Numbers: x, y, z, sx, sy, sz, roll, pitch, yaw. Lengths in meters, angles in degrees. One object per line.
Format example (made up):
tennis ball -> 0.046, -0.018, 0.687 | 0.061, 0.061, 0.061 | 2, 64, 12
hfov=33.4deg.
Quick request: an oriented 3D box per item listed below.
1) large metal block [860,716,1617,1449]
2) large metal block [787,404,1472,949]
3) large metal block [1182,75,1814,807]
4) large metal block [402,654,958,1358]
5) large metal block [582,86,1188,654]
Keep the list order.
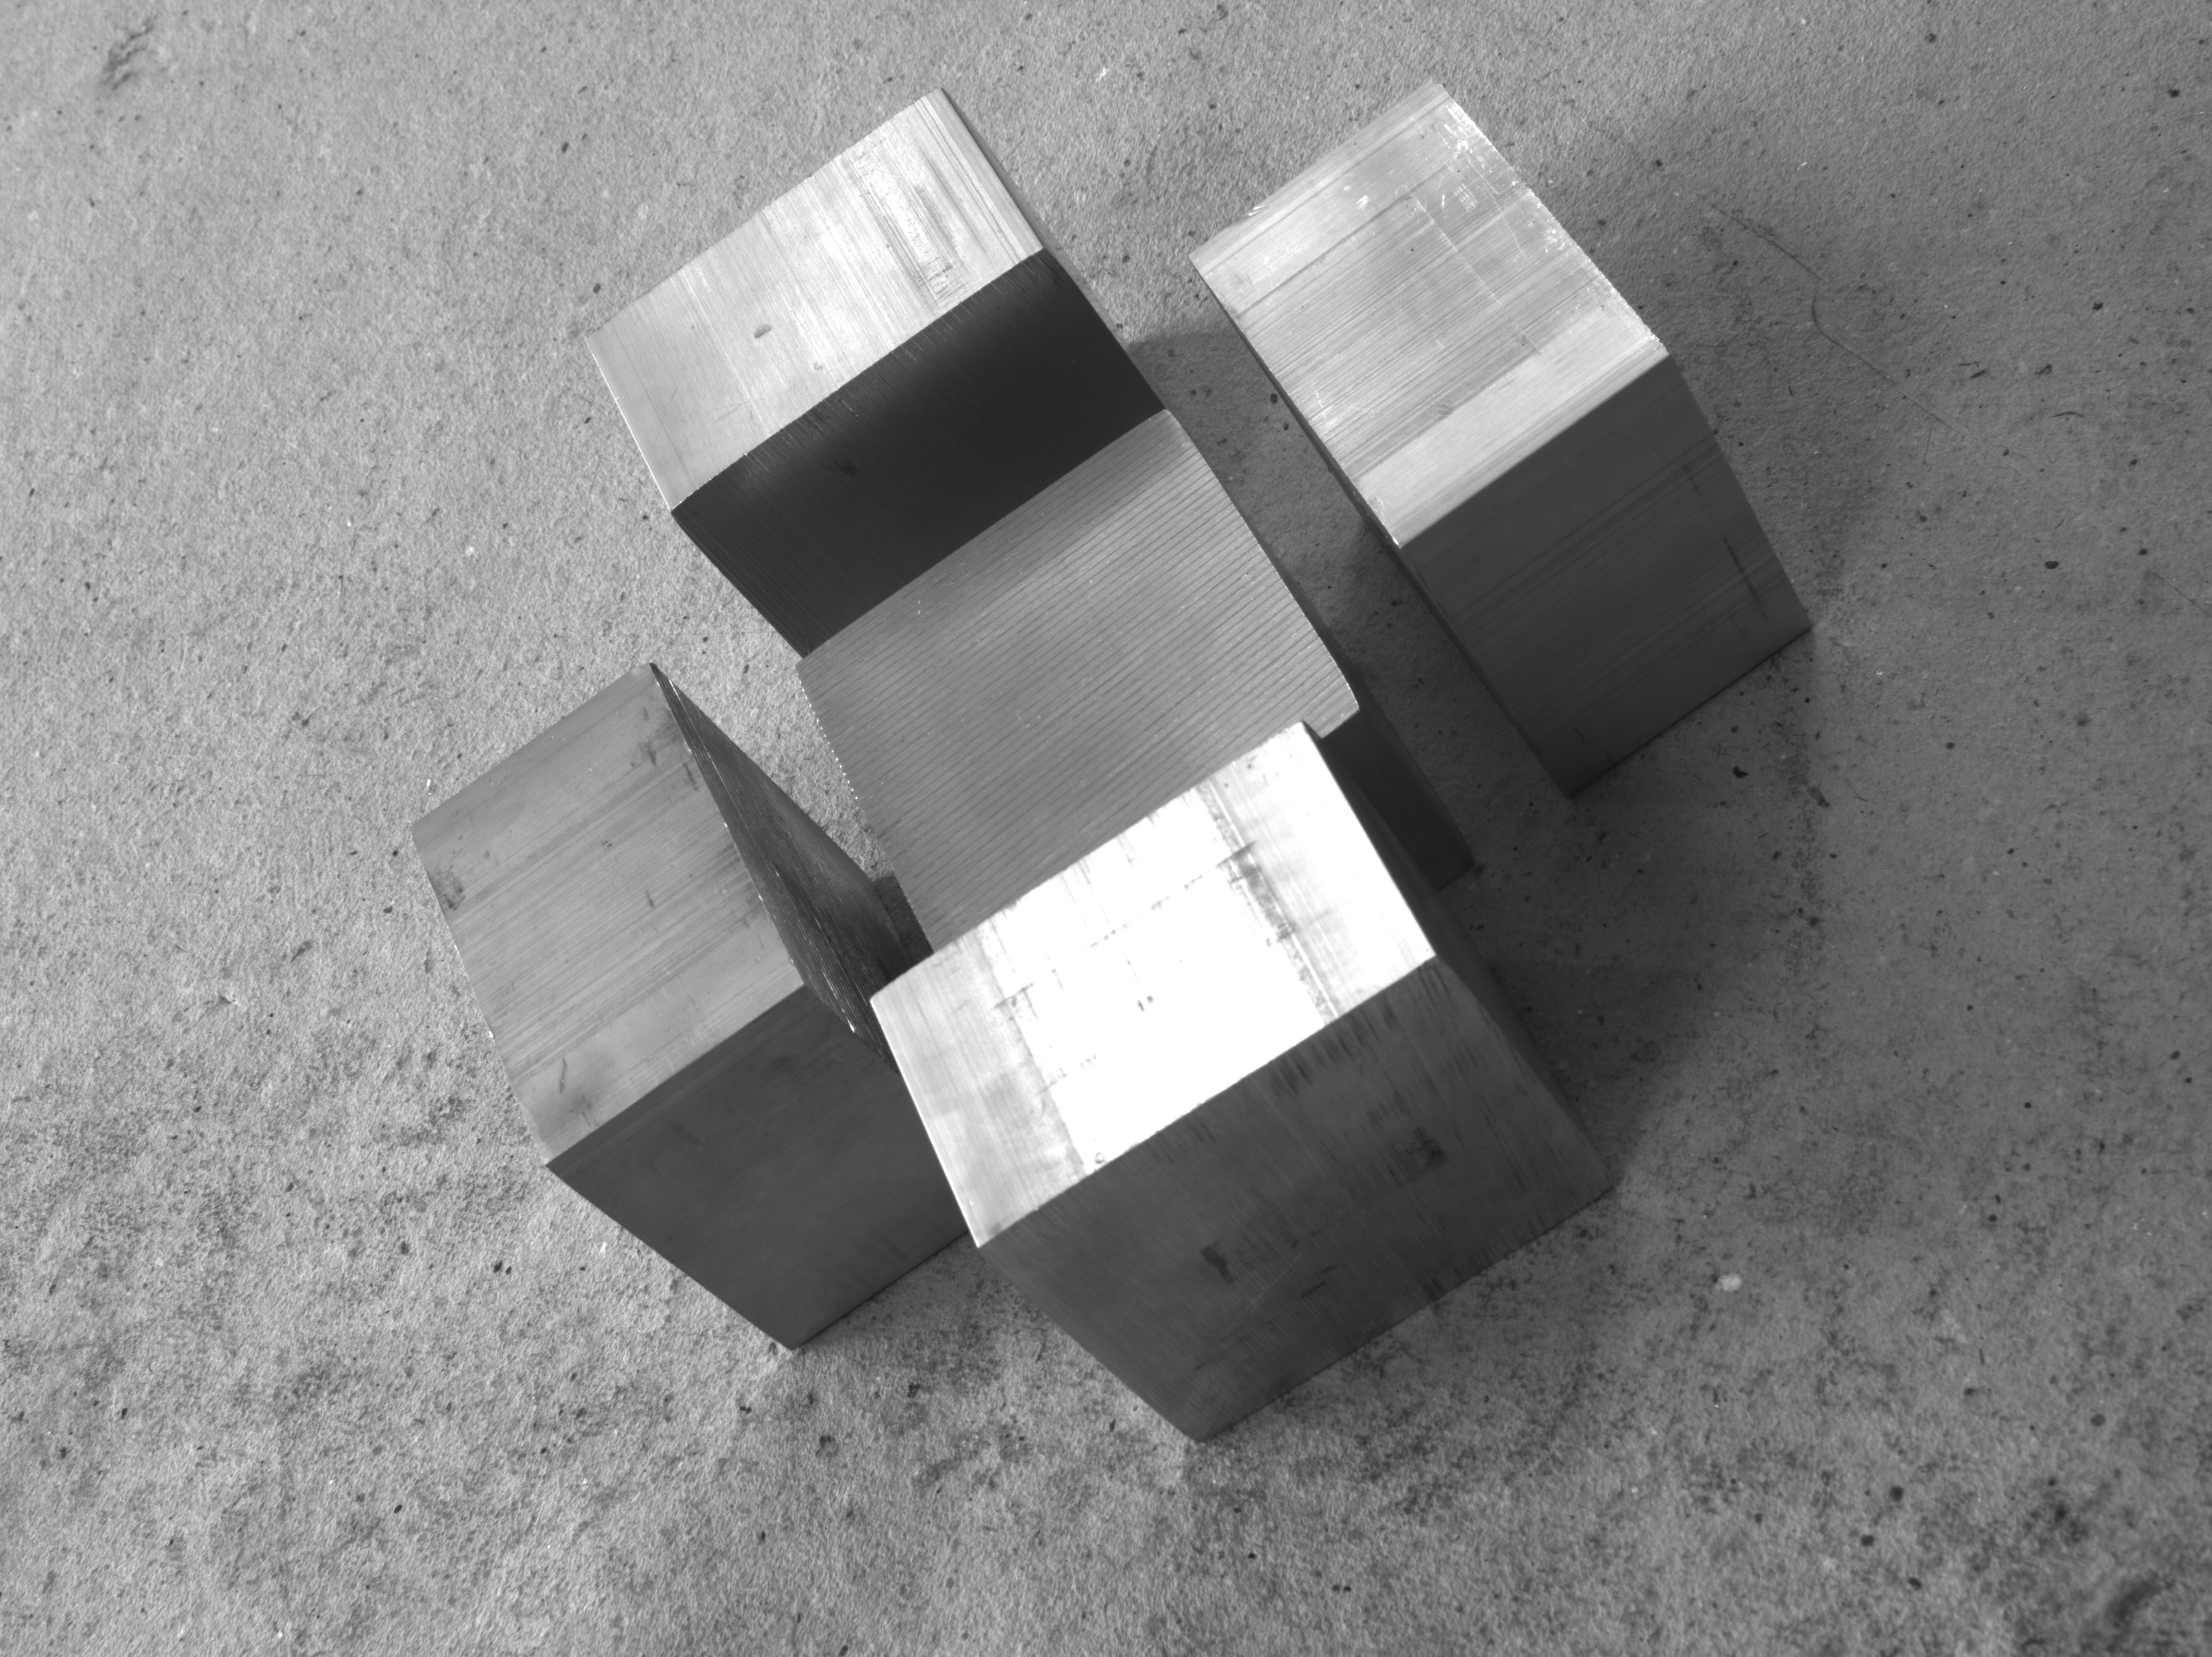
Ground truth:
large metal block -> 0.022, 0.041, 0.572 | 0.080, 0.080, 0.050 | -33, 50, 7
large metal block -> 0.003, -0.012, 0.632 | 0.080, 0.050, 0.080 | -34, 51, 6
large metal block -> 0.066, -0.064, 0.614 | 0.050, 0.080, 0.080 | -35, 51, 5
large metal block -> -0.066, 0.031, 0.626 | 0.050, 0.080, 0.080 | -34, 51, 6
large metal block -> -0.035, -0.074, 0.676 | 0.080, 0.080, 0.050 | -34, 51, 6
